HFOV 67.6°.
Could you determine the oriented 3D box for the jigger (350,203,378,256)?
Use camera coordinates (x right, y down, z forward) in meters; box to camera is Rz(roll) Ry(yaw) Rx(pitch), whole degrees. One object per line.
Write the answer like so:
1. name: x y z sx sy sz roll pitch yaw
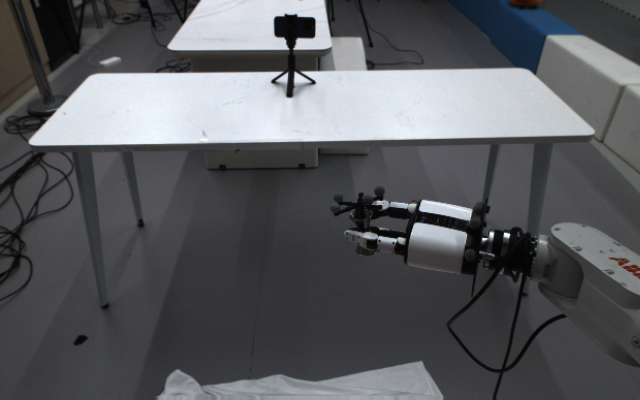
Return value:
1. jigger: 0.075 0.052 0.810 0.043 0.071 0.043 -11 24 5
